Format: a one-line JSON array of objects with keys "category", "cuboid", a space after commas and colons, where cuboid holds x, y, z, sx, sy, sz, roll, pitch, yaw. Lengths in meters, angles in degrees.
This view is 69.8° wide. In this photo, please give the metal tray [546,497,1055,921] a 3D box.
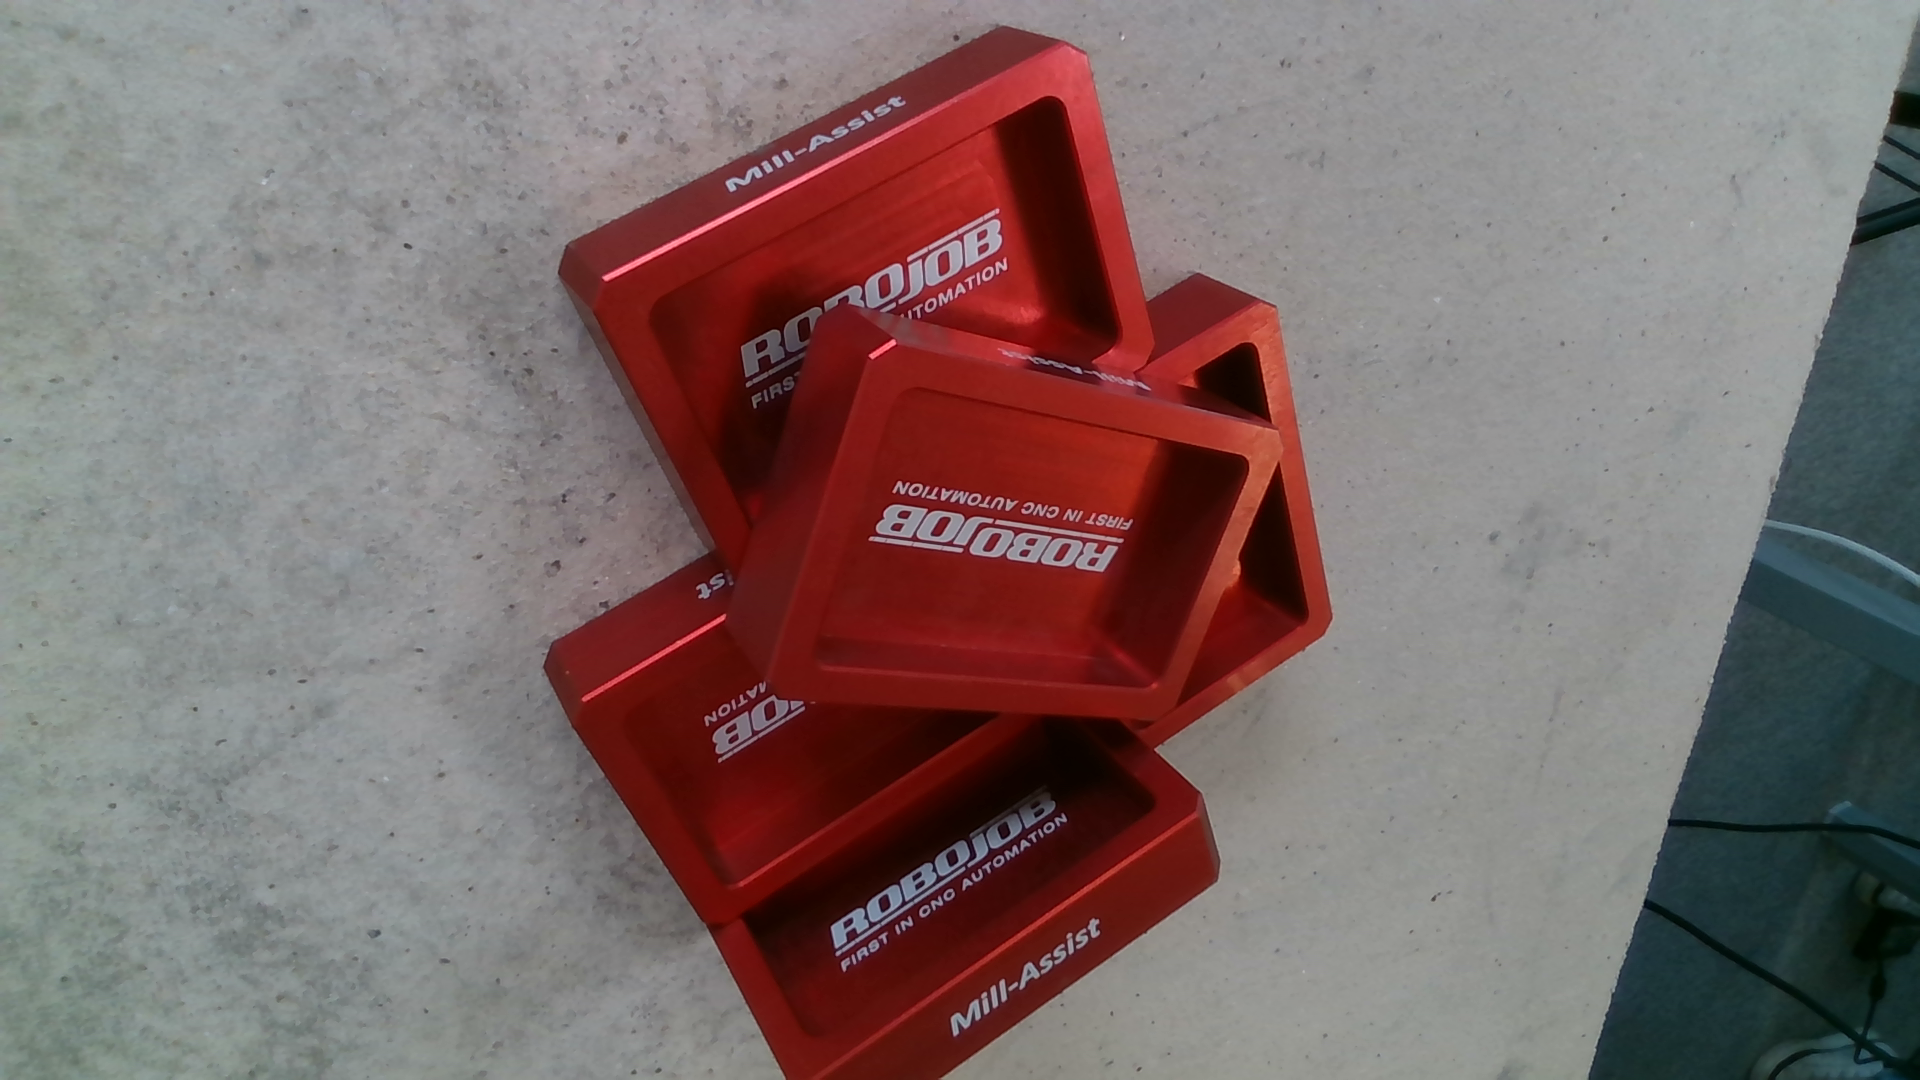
[{"category": "metal tray", "cuboid": [-0.034, 0.036, 0.383, 0.130, 0.030, 0.090, -31, 126, -13]}]

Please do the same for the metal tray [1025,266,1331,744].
[{"category": "metal tray", "cuboid": [0.062, -0.006, 0.423, 0.090, 0.030, 0.130, -31, 126, -14]}]

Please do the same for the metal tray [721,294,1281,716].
[{"category": "metal tray", "cuboid": [0.014, -0.004, 0.356, 0.130, 0.030, 0.090, 8, 110, -34]}]

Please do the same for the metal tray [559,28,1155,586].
[{"category": "metal tray", "cuboid": [-0.019, -0.057, 0.342, 0.130, 0.030, 0.090, -31, 127, -14]}]

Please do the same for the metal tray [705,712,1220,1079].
[{"category": "metal tray", "cuboid": [-0.003, 0.096, 0.395, 0.130, 0.090, 0.030, -30, 127, -14]}]
